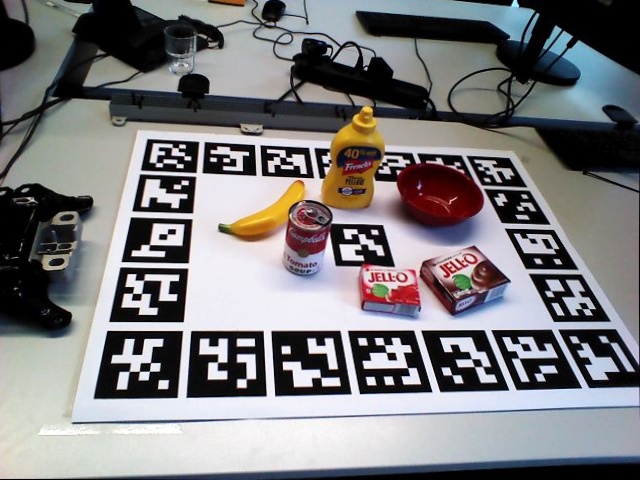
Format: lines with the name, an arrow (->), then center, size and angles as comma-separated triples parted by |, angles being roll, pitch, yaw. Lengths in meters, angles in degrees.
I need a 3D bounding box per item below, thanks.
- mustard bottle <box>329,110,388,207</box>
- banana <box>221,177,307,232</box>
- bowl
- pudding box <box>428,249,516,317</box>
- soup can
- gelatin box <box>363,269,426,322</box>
mustard bottle -> 0.076, -0.146, 0.886 | 0.096, 0.192, 0.058 | 2, 42, -9
banana -> -0.078, -0.060, 0.895 | 0.074, 0.039, 0.196 | 24, 44, 28
bowl -> 0.234, -0.070, 0.957 | 0.162, 0.055, 0.160 | 4, 43, -4
pudding box -> 0.244, 0.065, 0.827 | 0.113, 0.039, 0.090 | -17, 55, -26
soup can -> -0.020, -0.009, 0.794 | 0.068, 0.102, 0.067 | 7, 42, -7
gelatin box -> 0.112, 0.083, 0.789 | 0.089, 0.030, 0.073 | 6, 47, -4
